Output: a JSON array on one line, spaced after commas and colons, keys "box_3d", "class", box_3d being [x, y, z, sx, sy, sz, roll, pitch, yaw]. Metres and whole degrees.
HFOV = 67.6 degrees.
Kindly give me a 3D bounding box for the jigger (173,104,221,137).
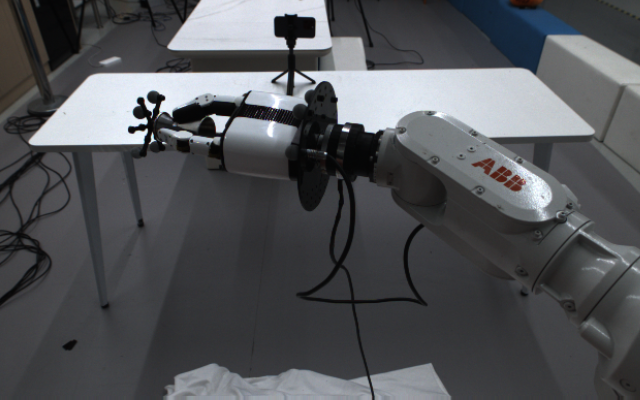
[{"box_3d": [-0.173, -0.094, 0.638, 0.071, 0.043, 0.043, 10, 35, 16], "class": "jigger"}]
